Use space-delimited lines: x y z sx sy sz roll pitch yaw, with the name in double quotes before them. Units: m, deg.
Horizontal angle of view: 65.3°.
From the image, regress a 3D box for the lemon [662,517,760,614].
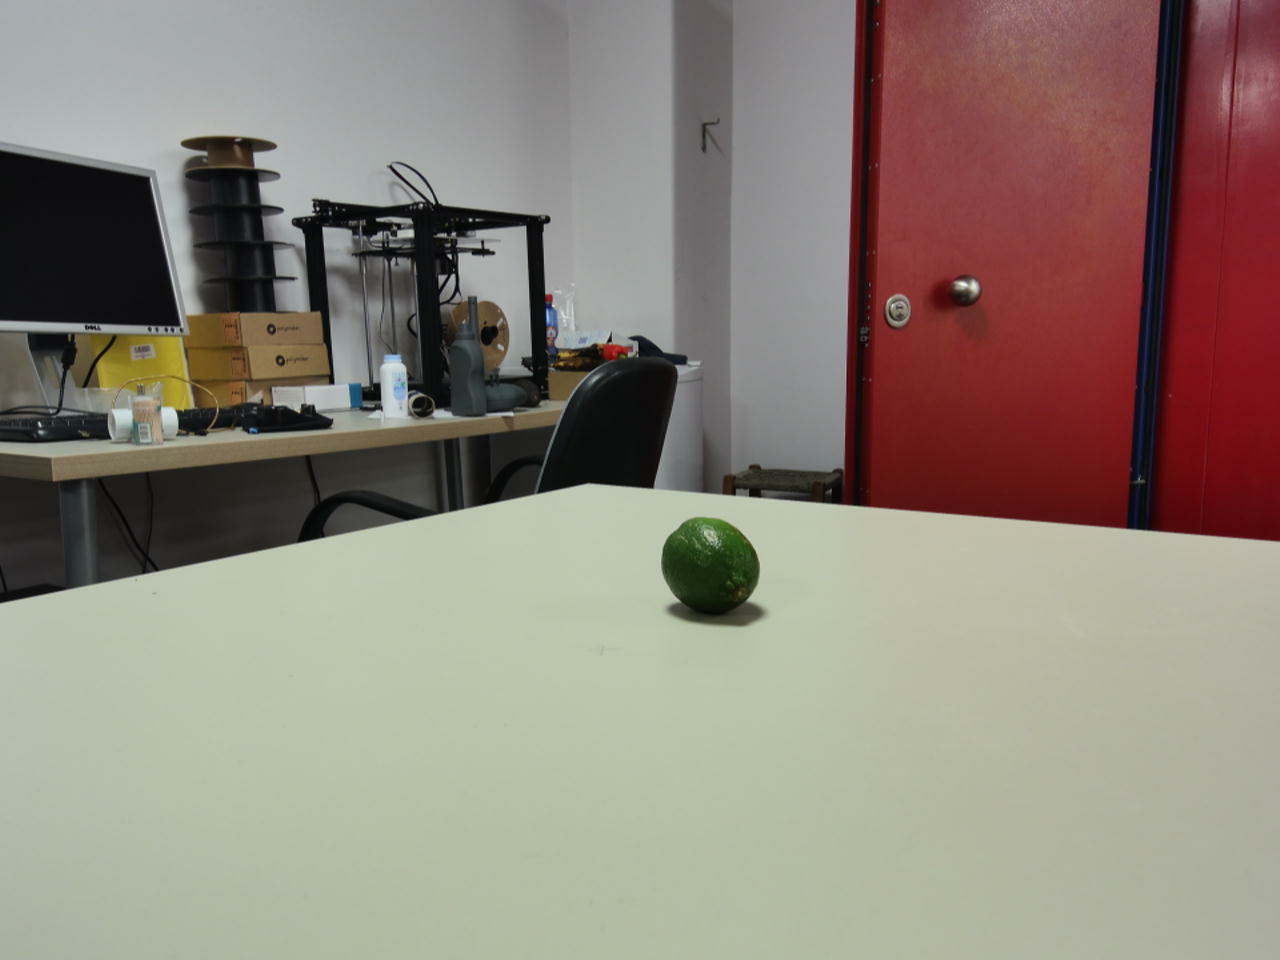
"lemon" 0.040 0.046 0.551 0.057 0.051 0.054 4 7 32
